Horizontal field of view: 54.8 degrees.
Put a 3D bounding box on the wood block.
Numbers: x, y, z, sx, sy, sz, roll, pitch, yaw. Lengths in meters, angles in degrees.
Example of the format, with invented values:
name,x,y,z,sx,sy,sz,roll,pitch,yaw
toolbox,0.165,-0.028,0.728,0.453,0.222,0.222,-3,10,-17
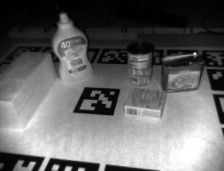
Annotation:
name,x,y,z,sx,sy,sz,roll,pitch,yaw
wood block,-0.240,-0.008,0.567,0.090,0.090,0.206,5,37,11

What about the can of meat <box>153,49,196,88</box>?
name,x,y,z,sx,sy,sz,roll,pitch,yaw
can of meat,0.159,-0.042,0.566,0.102,0.084,0.057,-5,40,-2

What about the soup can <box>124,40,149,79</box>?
name,x,y,z,sx,sy,sz,roll,pitch,yaw
soup can,0.067,-0.076,0.589,0.068,0.103,0.067,-4,41,4

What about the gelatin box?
name,x,y,z,sx,sy,sz,roll,pitch,yaw
gelatin box,0.068,0.031,0.524,0.088,0.030,0.073,9,44,20

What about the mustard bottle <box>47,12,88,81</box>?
name,x,y,z,sx,sy,sz,roll,pitch,yaw
mustard bottle,-0.128,-0.106,0.598,0.096,0.193,0.058,-13,39,-10
